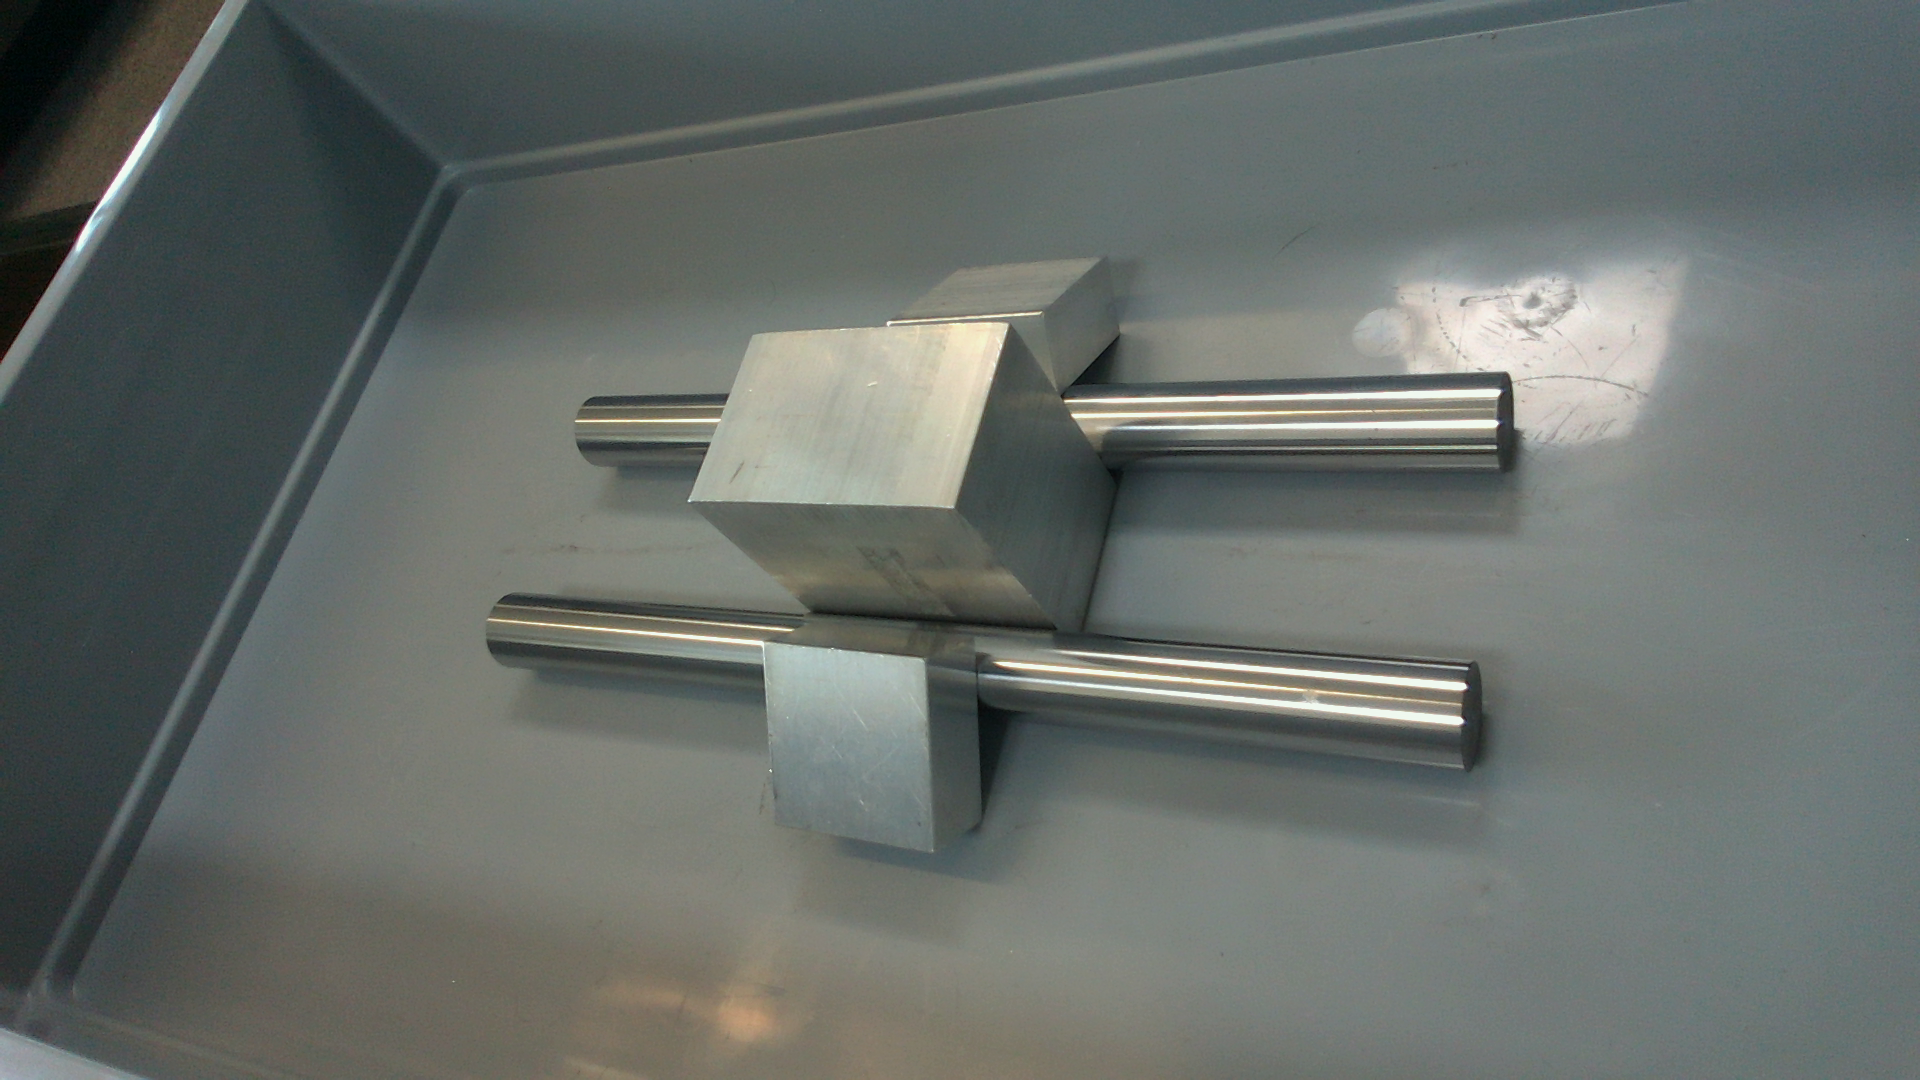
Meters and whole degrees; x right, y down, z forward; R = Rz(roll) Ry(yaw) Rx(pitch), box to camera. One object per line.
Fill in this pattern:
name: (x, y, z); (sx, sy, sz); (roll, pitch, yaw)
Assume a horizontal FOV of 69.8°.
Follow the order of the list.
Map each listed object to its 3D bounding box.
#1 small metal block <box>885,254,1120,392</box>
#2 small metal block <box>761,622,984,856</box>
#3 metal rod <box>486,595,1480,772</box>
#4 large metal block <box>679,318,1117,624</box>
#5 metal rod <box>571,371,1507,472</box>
small metal block: (0.014, -0.064, 0.409); (0.050, 0.025, 0.050); (1, 28, 29)
small metal block: (-0.023, 0.050, 0.358); (0.050, 0.025, 0.050); (3, 100, 29)
metal rod: (-0.016, 0.034, 0.380); (0.299, 0.025, 0.025); (2, 63, 29)
large metal block: (-0.013, -0.013, 0.371); (0.080, 0.080, 0.050); (2, 62, 29)
metal rod: (0.003, -0.034, 0.411); (0.299, 0.025, 0.025); (2, 63, 29)
